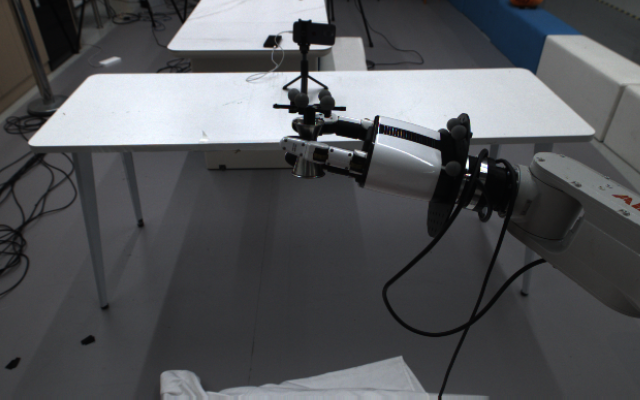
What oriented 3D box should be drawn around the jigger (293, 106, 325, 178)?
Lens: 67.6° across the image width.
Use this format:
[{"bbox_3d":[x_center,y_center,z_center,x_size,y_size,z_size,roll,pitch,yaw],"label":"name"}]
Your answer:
[{"bbox_3d":[-0.015,-0.067,0.616,0.043,0.071,0.043,1,20,0],"label":"jigger"}]
